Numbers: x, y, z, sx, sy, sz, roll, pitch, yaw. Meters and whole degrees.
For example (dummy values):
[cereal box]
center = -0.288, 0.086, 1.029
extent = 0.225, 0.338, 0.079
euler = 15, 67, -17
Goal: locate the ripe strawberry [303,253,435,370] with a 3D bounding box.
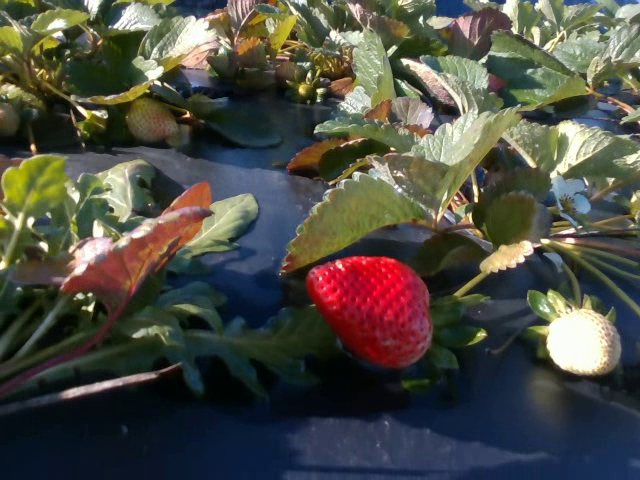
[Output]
[ripe strawberry]
center = 0.013, 0.019, 0.188
extent = 0.053, 0.044, 0.036
euler = 22, -33, -31
